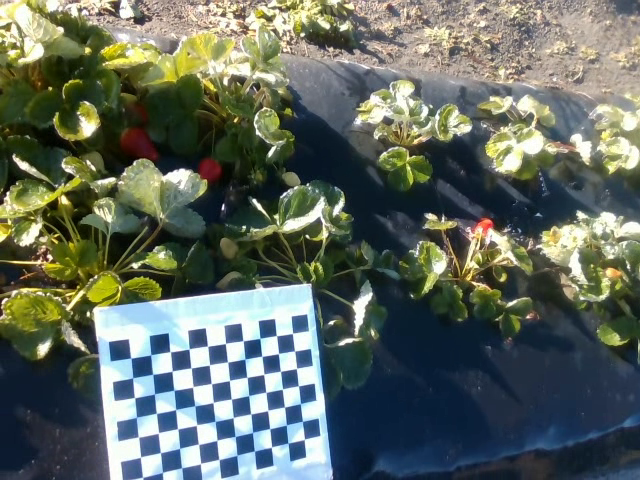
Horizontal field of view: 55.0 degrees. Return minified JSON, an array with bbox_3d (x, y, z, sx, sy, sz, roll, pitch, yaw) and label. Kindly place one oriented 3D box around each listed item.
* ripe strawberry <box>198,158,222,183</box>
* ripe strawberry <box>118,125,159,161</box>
[{"bbox_3d":[-0.153,-0.094,0.837,0.039,0.047,0.040,36,-35,-17],"label":"ripe strawberry"},{"bbox_3d":[-0.239,-0.128,0.815,0.044,0.056,0.040,-50,13,-26],"label":"ripe strawberry"}]
